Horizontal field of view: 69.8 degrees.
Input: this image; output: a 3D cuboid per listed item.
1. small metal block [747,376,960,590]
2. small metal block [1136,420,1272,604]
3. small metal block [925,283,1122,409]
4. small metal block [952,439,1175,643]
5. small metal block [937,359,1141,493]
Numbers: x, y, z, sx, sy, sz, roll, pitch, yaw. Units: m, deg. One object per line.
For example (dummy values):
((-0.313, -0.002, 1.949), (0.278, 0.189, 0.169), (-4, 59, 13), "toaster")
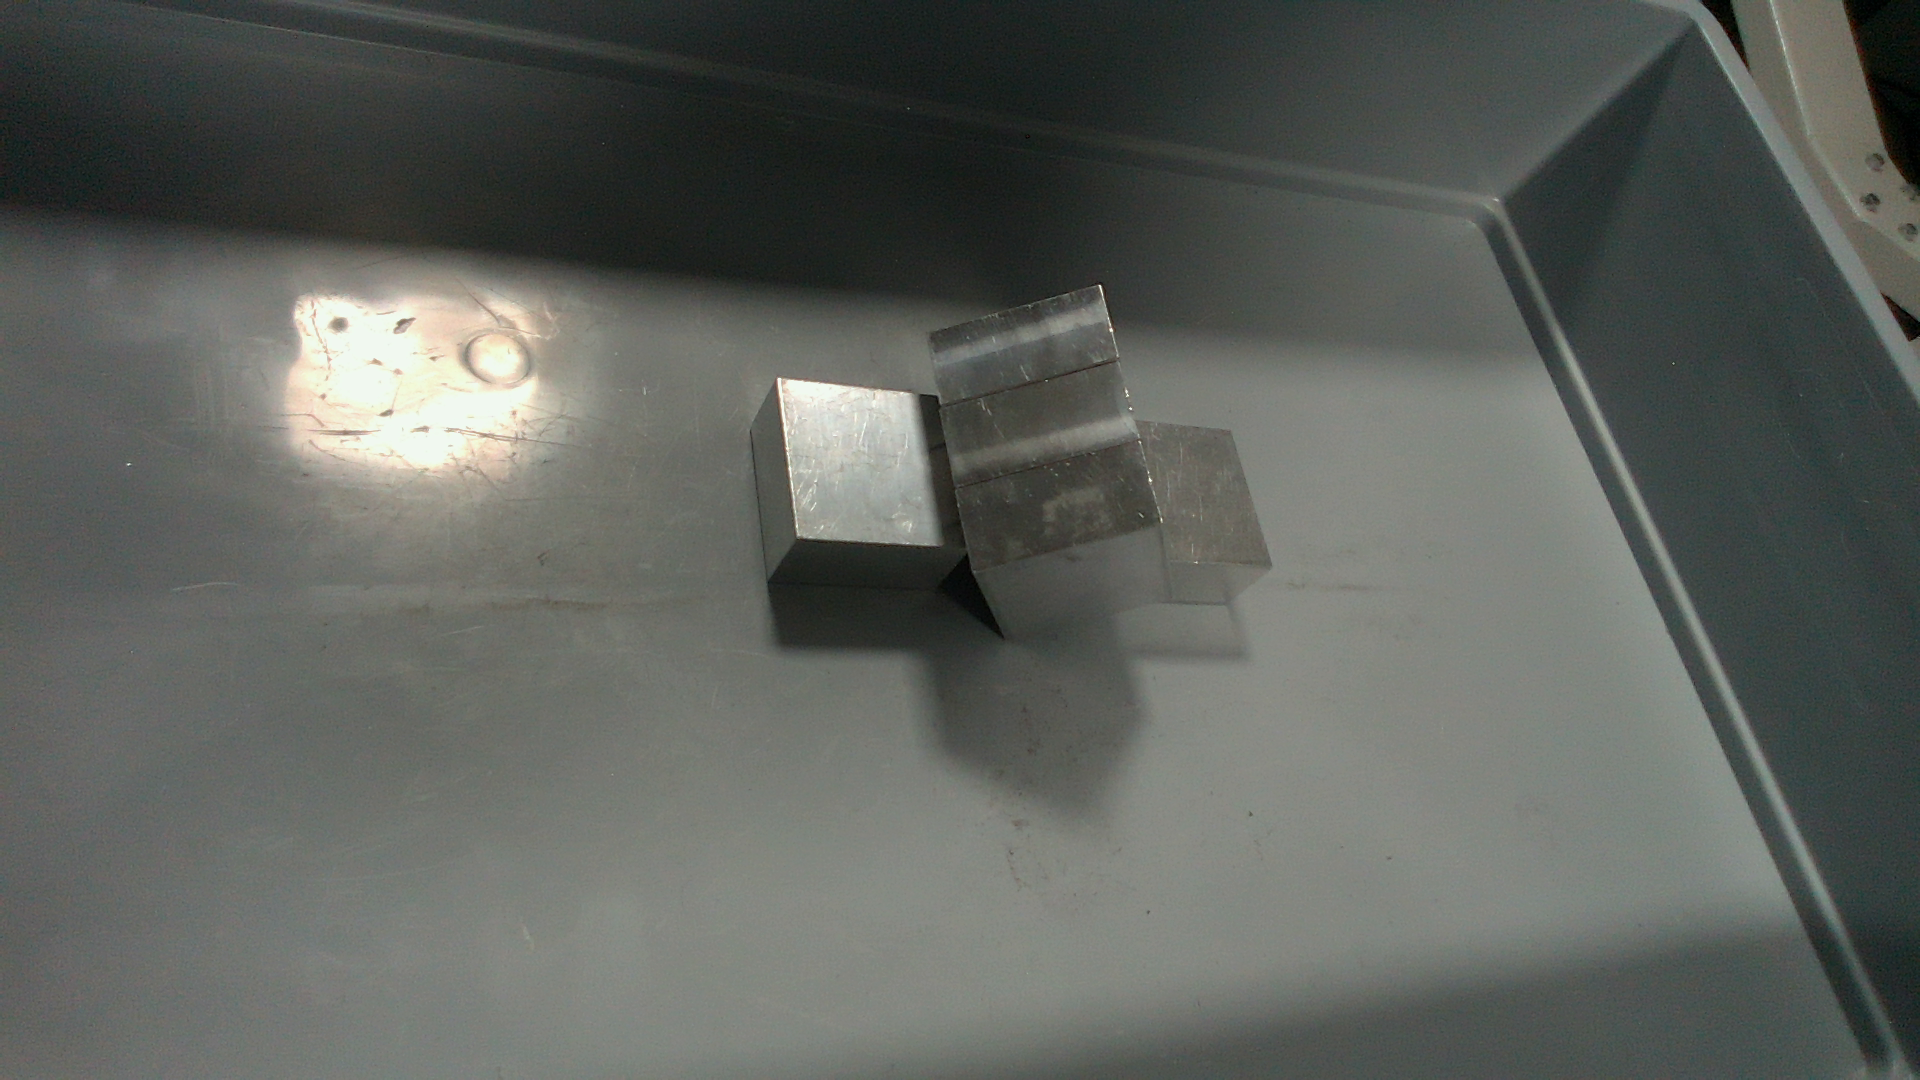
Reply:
((-0.029, -0.015, 0.382), (0.050, 0.025, 0.050), (4, 60, -26), "small metal block")
((0.063, -0.009, 0.428), (0.050, 0.025, 0.050), (3, 60, -27), "small metal block")
((0.021, -0.043, 0.397), (0.050, 0.050, 0.025), (-14, 63, 6), "small metal block")
((0.029, 0.002, 0.374), (0.050, 0.050, 0.025), (-15, 63, 5), "small metal block")
((0.025, -0.021, 0.385), (0.050, 0.050, 0.025), (-15, 63, 5), "small metal block")
